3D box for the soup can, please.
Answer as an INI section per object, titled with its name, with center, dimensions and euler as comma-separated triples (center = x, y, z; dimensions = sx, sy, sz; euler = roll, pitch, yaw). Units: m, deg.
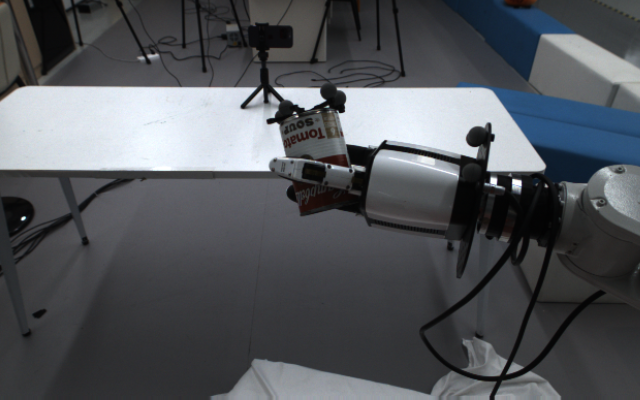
[soup can]
center = 0.001, -0.039, 0.524
dimensions = 0.067, 0.101, 0.067
euler = -14, -2, -1
